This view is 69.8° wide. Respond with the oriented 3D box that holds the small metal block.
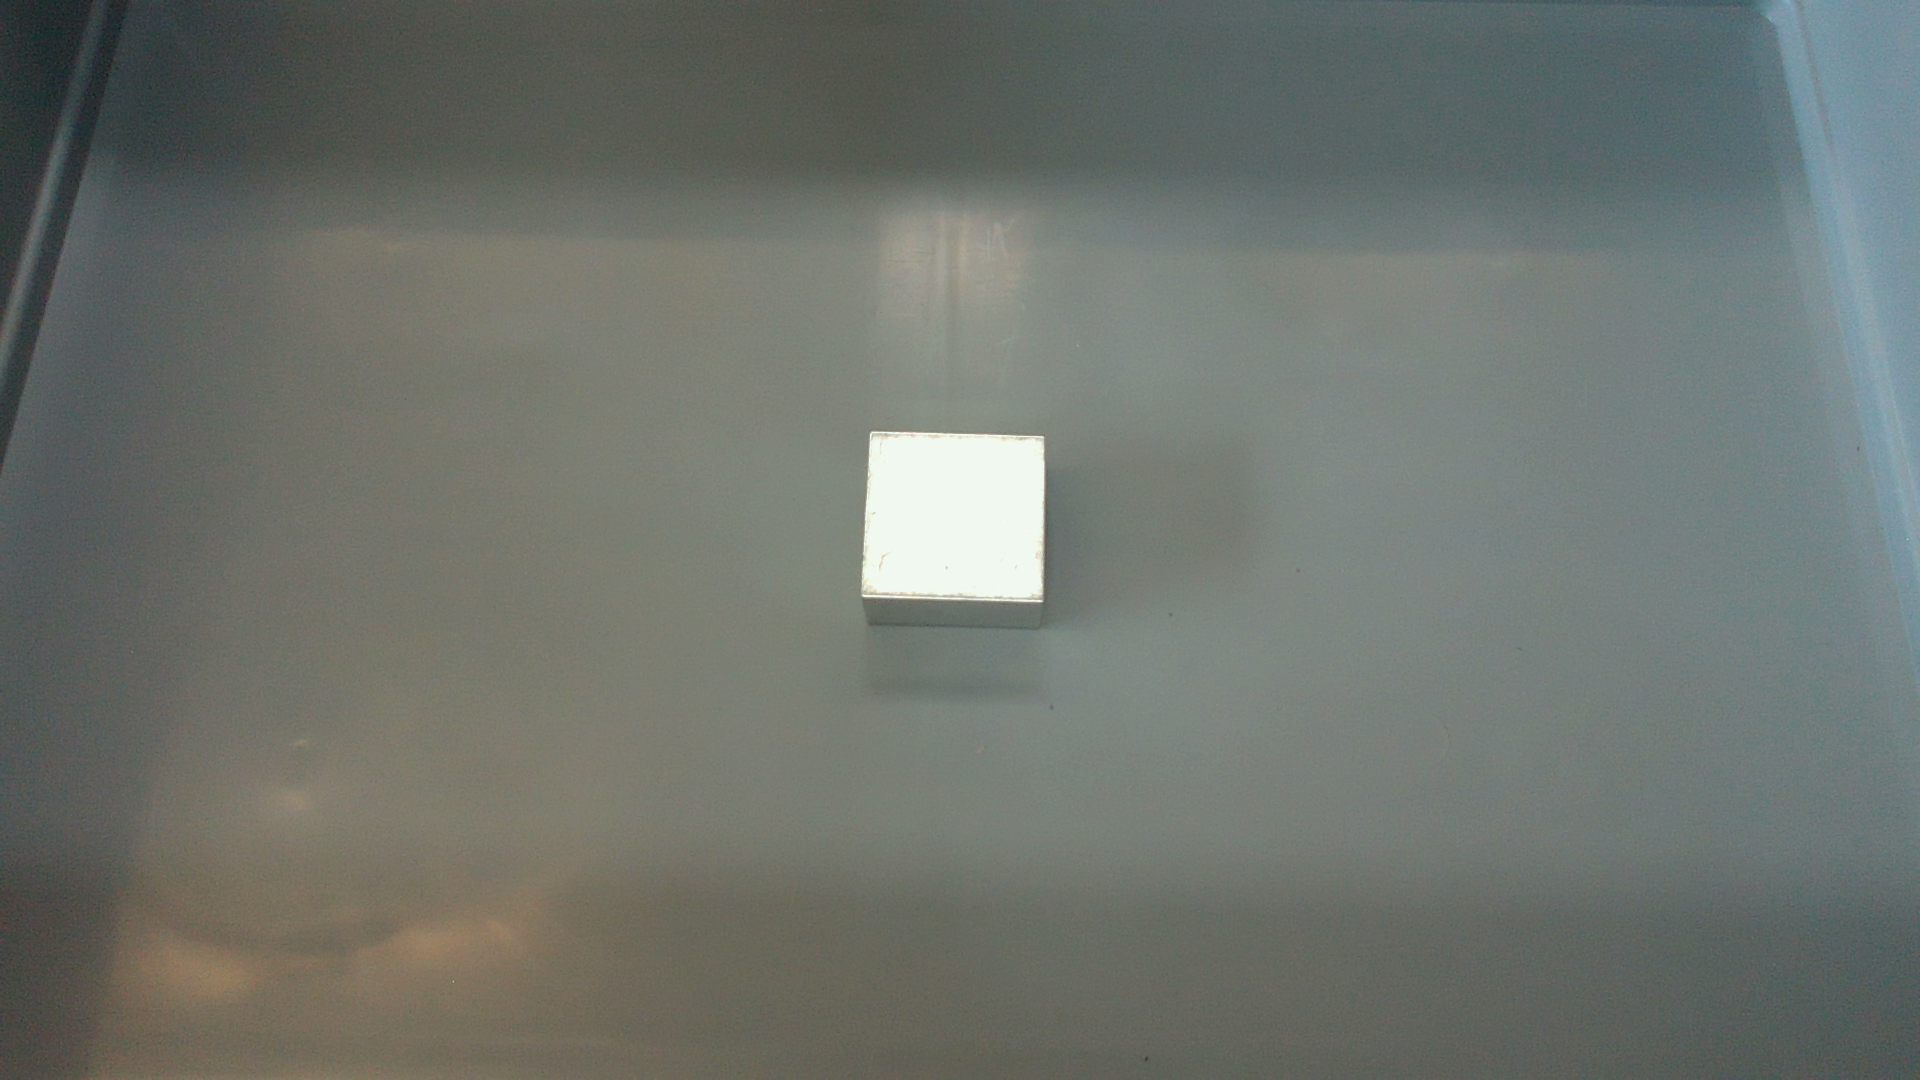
[{"bbox_3d":[-0.001,-0.003,0.392,0.050,0.025,0.050,1,70,1],"label":"small metal block"}]
